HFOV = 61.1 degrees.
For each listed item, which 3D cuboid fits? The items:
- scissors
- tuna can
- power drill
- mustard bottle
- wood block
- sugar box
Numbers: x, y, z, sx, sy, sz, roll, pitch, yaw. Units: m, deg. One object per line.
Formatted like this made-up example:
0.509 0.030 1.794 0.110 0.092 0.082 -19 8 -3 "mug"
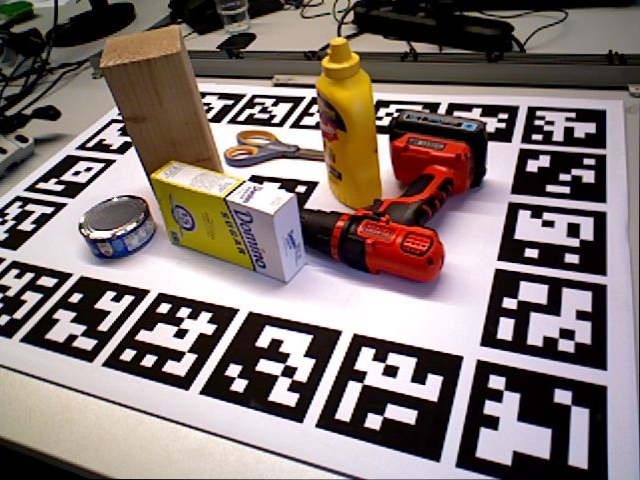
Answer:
-0.073 -0.132 0.755 0.204 0.016 0.085 7 42 21 "scissors"
-0.250 -0.013 0.653 0.086 0.034 0.084 -7 43 6 "tuna can"
0.067 -0.054 0.605 0.185 0.058 0.183 16 57 29 "power drill"
0.028 -0.137 0.615 0.058 0.195 0.095 -22 44 -11 "mustard bottle"
-0.190 -0.136 0.660 0.090 0.210 0.089 -14 43 -2 "wood block"
-0.095 -0.021 0.586 0.177 0.095 0.044 16 45 26 "sugar box"
